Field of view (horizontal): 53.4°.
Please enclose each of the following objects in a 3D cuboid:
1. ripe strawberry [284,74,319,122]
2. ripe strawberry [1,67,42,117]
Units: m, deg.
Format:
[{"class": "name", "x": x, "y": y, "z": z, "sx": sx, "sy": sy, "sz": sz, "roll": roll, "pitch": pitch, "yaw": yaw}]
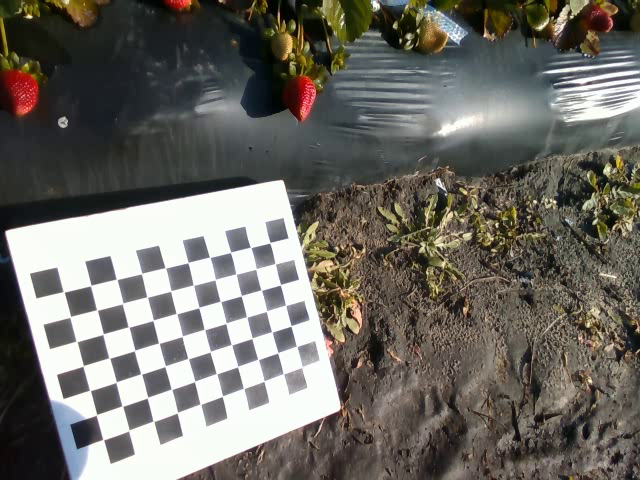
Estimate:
[{"class": "ripe strawberry", "x": -0.023, "y": -0.147, "z": 0.665, "sx": 0.042, "sy": 0.058, "sz": 0.042, "roll": 13, "pitch": -25, "yaw": -32}, {"class": "ripe strawberry", "x": -0.267, "y": -0.127, "z": 0.561, "sx": 0.045, "sy": 0.055, "sz": 0.042, "roll": -4, "pitch": -37, "yaw": -34}]
